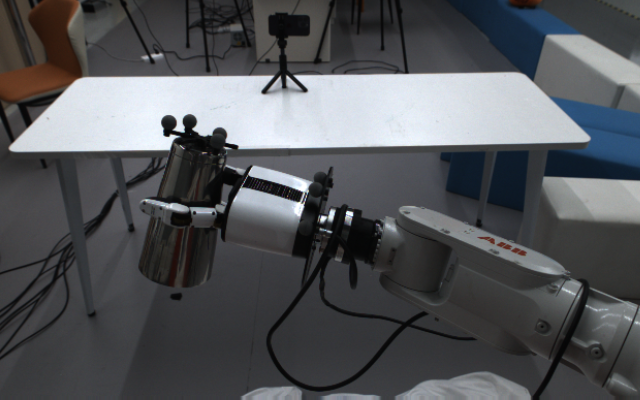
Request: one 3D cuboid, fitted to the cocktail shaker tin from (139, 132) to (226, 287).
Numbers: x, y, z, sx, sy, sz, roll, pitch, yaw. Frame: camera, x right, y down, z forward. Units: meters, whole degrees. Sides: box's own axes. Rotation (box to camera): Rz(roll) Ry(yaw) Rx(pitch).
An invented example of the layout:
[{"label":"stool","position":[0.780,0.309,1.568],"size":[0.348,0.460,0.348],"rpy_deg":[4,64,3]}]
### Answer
[{"label":"cocktail shaker tin","position":[-0.167,0.013,0.606],"size":[0.093,0.170,0.093],"rpy_deg":[15,17,-5]}]
